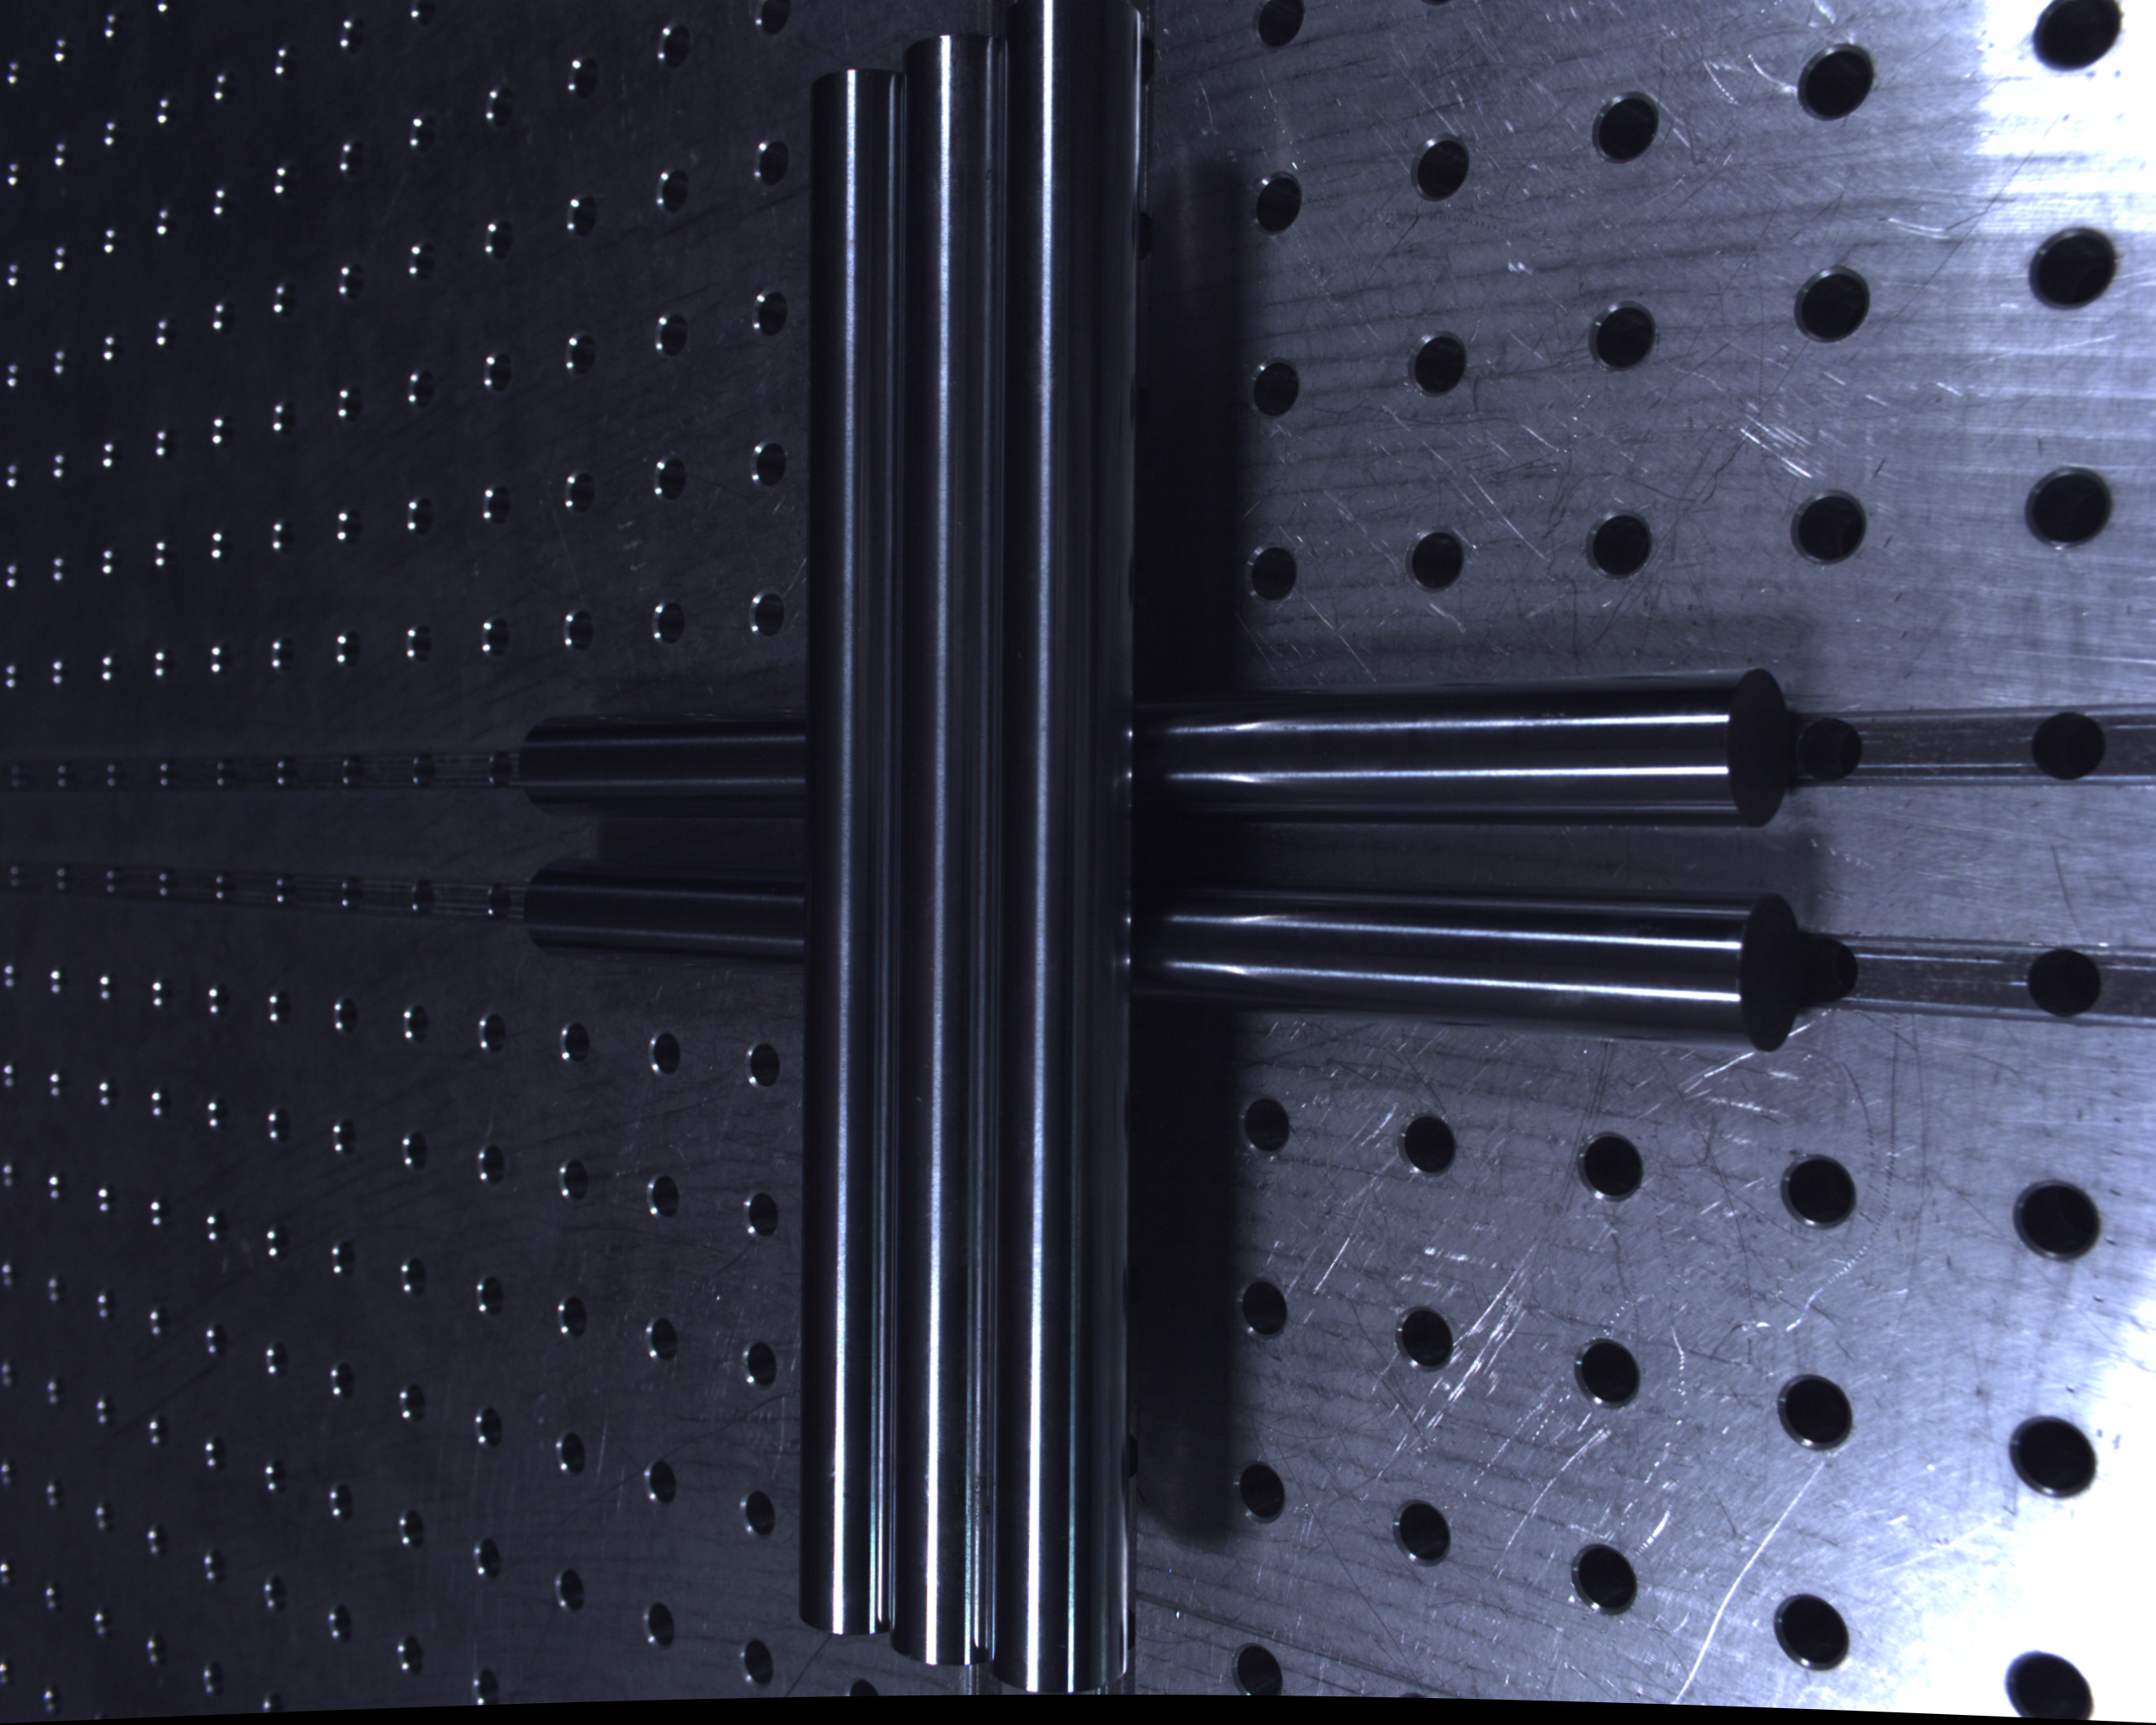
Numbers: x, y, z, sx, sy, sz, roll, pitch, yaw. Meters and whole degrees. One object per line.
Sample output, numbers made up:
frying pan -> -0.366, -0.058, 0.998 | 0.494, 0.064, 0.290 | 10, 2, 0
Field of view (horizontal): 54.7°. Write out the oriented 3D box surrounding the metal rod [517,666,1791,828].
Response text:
metal rod -> -0.011, -0.021, 0.417 | 0.300, 0.025, 0.025 | 1, 91, 39

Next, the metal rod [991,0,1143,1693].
metal rod -> -0.002, -0.004, 0.377 | 0.025, 0.025, 0.298 | 1, 91, 39

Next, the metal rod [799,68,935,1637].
metal rod -> -0.041, -0.002, 0.409 | 0.025, 0.025, 0.298 | 1, 91, 39

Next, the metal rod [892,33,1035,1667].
metal rod -> -0.021, -0.002, 0.393 | 0.025, 0.025, 0.298 | 1, 91, 39

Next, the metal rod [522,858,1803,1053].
metal rod -> -0.009, 0.014, 0.415 | 0.300, 0.025, 0.025 | 1, 91, 39
